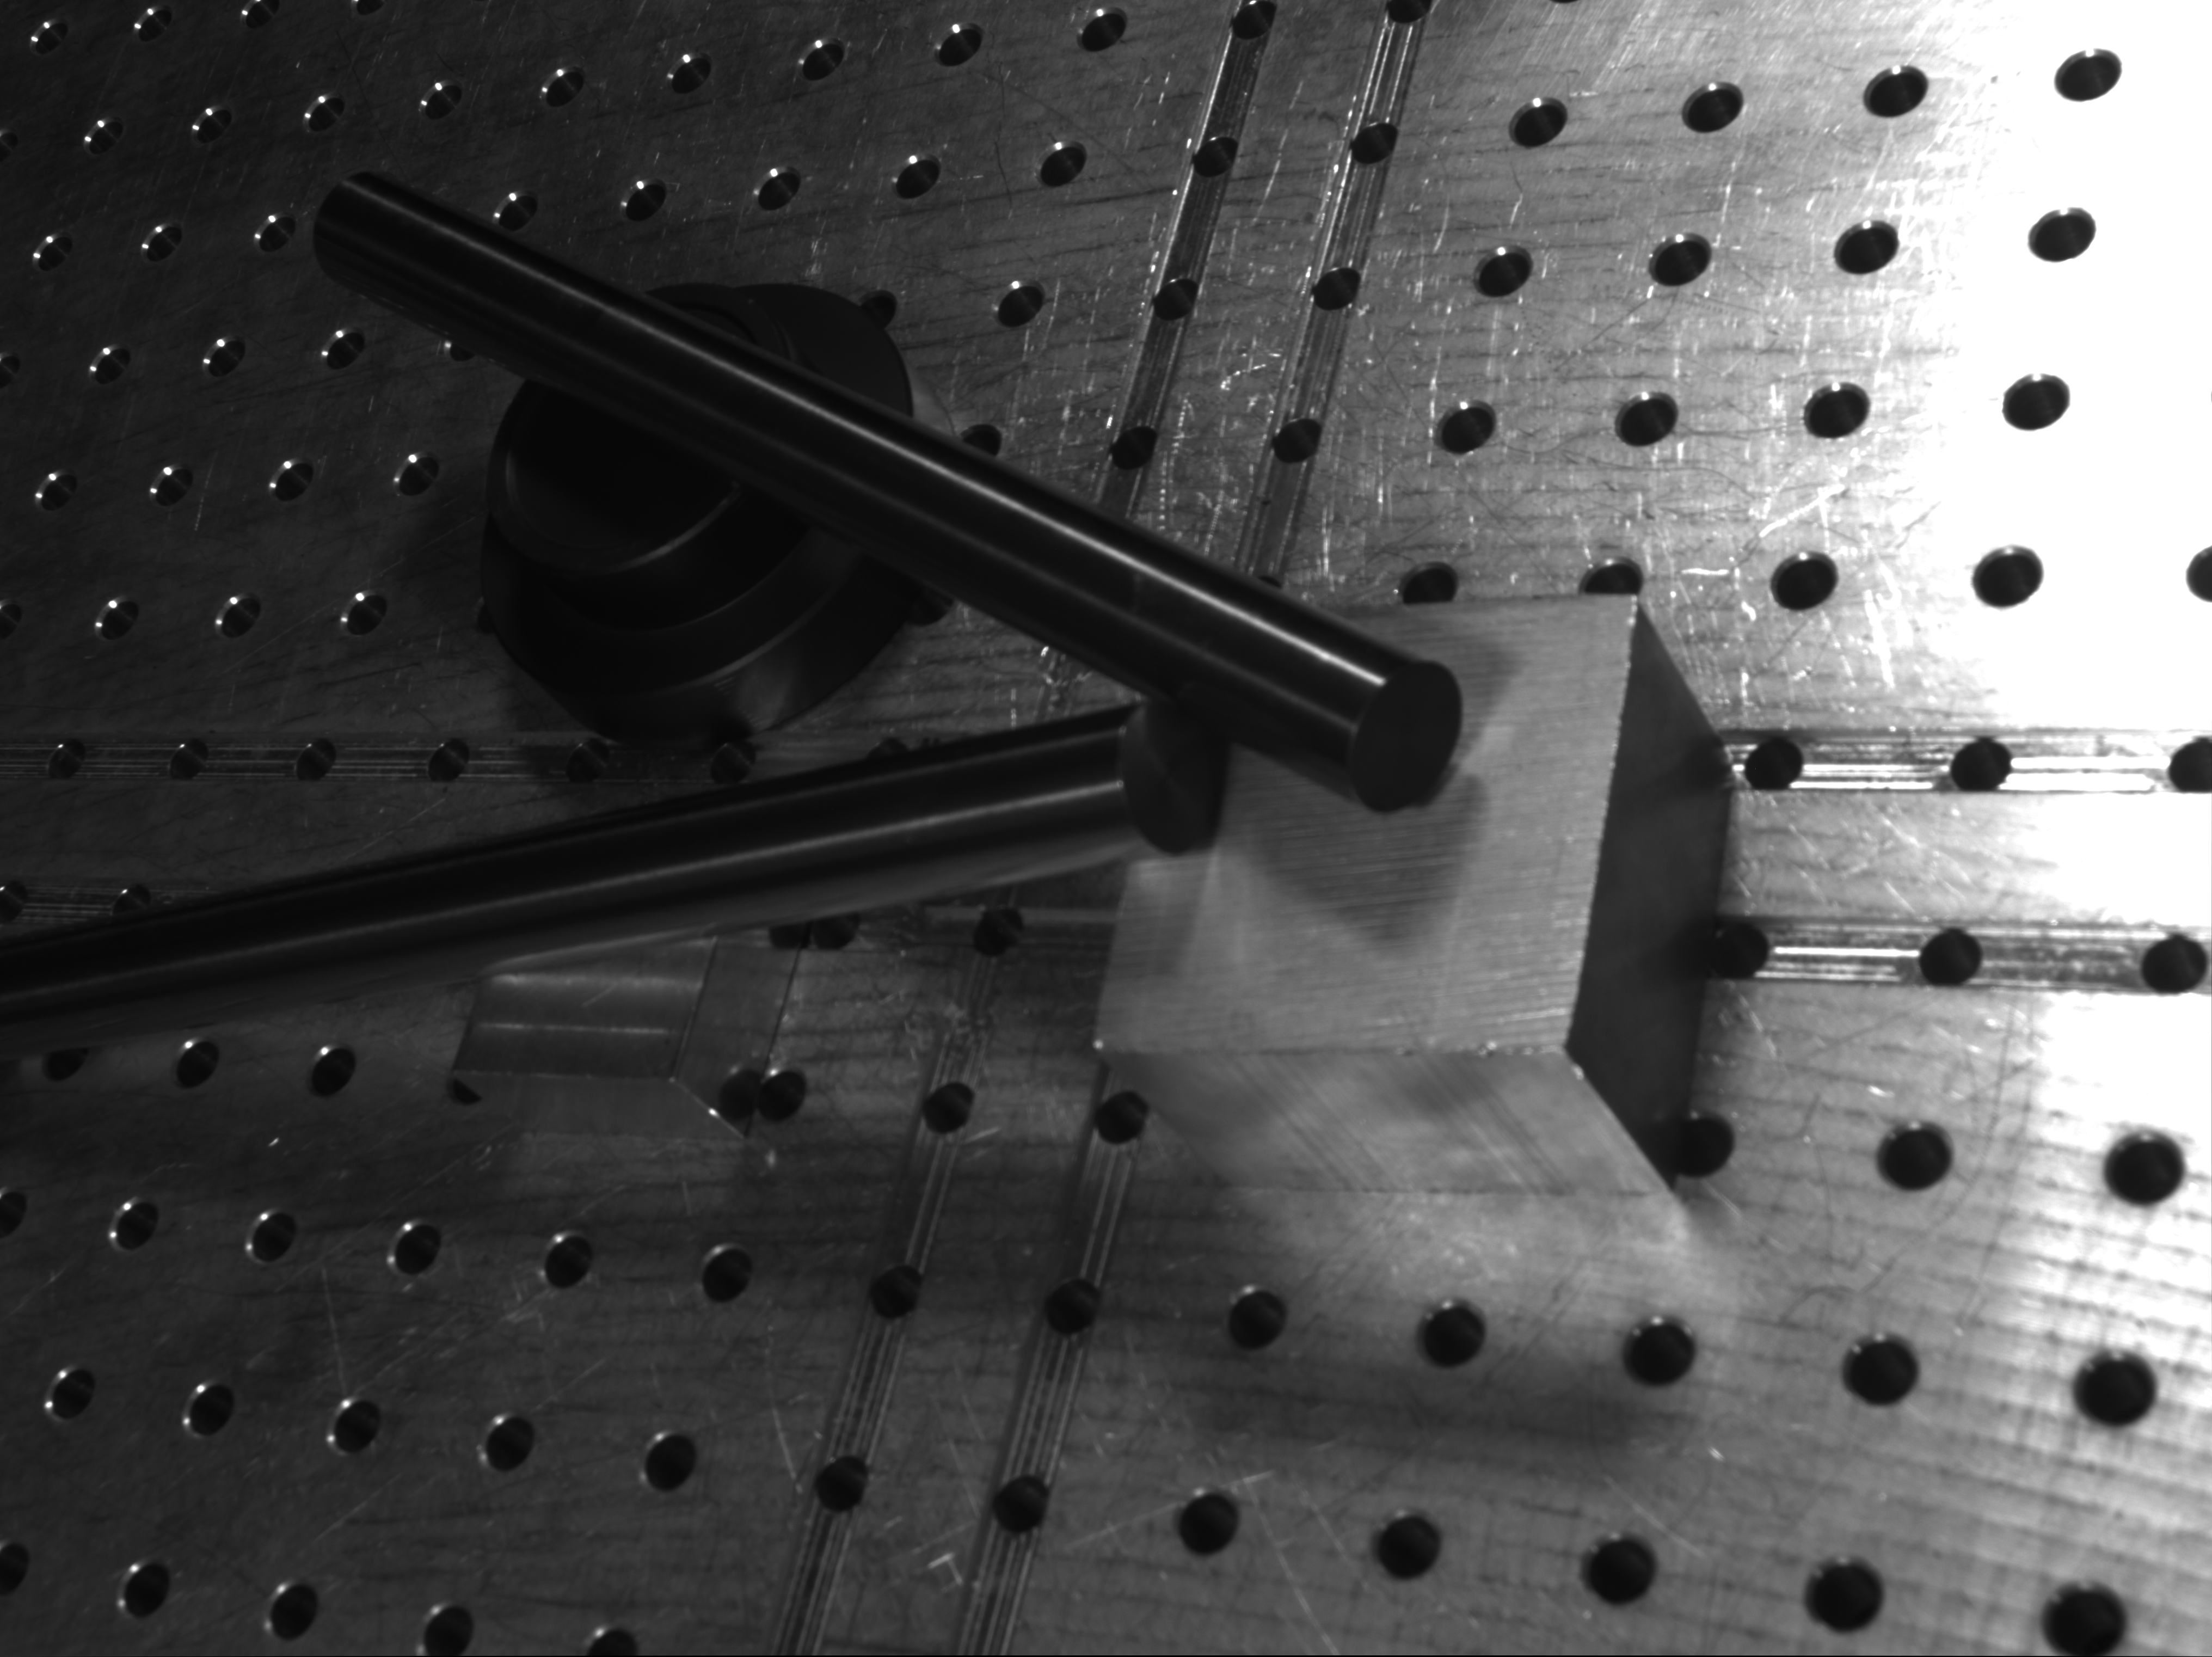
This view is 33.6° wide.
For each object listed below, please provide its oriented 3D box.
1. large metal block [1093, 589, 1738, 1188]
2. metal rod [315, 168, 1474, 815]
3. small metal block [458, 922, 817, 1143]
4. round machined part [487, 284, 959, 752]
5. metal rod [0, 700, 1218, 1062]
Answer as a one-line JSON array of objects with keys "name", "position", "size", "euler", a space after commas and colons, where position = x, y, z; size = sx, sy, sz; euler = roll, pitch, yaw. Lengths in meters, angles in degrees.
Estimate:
[{"name": "large metal block", "position": [0.052, 0.011, 0.593], "size": [0.080, 0.050, 0.080], "euler": [-2, 61, 27]}, {"name": "metal rod", "position": [-0.052, -0.069, 0.655], "size": [0.299, 0.025, 0.025], "euler": [29, 78, 40]}, {"name": "small metal block", "position": [-0.085, 0.029, 0.676], "size": [0.050, 0.025, 0.050], "euler": [0, 61, 28]}, {"name": "round machined part", "position": [-0.081, -0.068, 0.721], "size": [0.098, 0.042, 0.098], "euler": [-13, 56, 21]}, {"name": "metal rod", "position": [-0.110, 0.014, 0.662], "size": [0.299, 0.025, 0.025], "euler": [-10, 56, 35]}]
